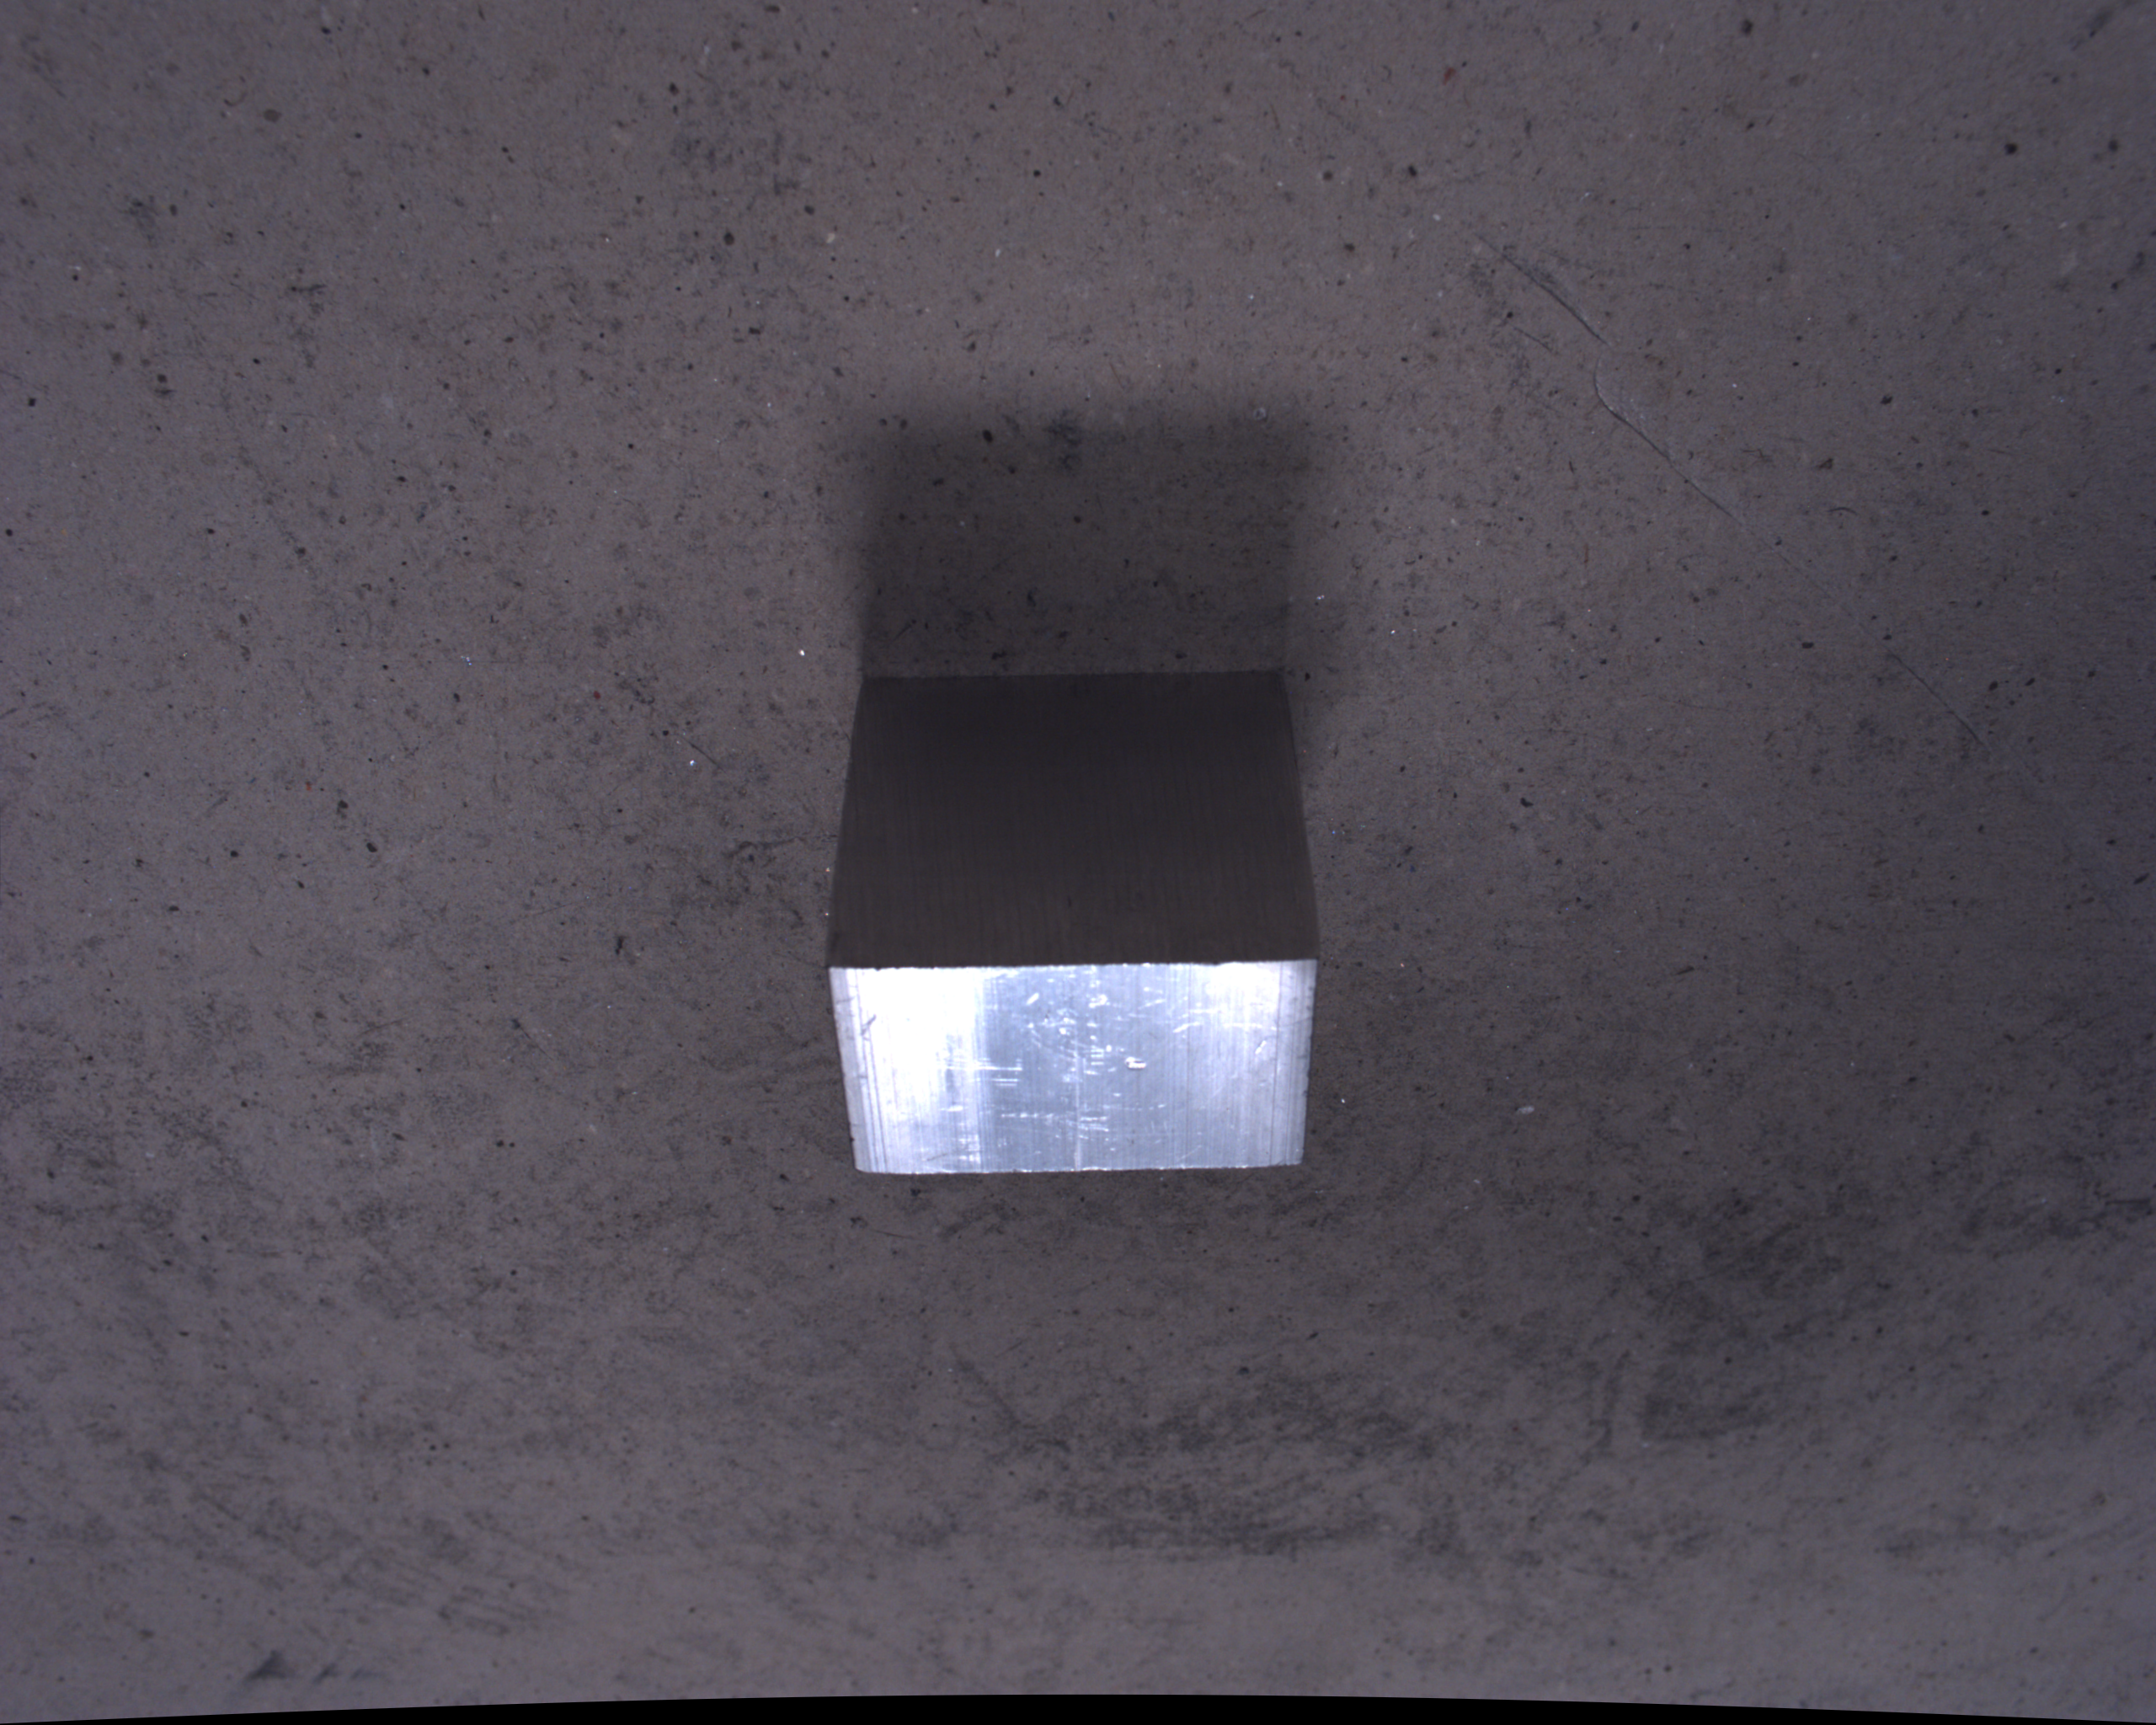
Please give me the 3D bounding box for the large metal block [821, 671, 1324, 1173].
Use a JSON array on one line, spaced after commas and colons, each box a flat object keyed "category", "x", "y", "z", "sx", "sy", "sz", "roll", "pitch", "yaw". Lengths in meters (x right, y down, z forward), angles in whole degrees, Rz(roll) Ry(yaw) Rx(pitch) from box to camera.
[{"category": "large metal block", "x": -0.001, "y": 0.009, "z": 0.381, "sx": 0.081, "sy": 0.080, "sz": 0.050, "roll": -1, "pitch": 130, "yaw": 0}]
